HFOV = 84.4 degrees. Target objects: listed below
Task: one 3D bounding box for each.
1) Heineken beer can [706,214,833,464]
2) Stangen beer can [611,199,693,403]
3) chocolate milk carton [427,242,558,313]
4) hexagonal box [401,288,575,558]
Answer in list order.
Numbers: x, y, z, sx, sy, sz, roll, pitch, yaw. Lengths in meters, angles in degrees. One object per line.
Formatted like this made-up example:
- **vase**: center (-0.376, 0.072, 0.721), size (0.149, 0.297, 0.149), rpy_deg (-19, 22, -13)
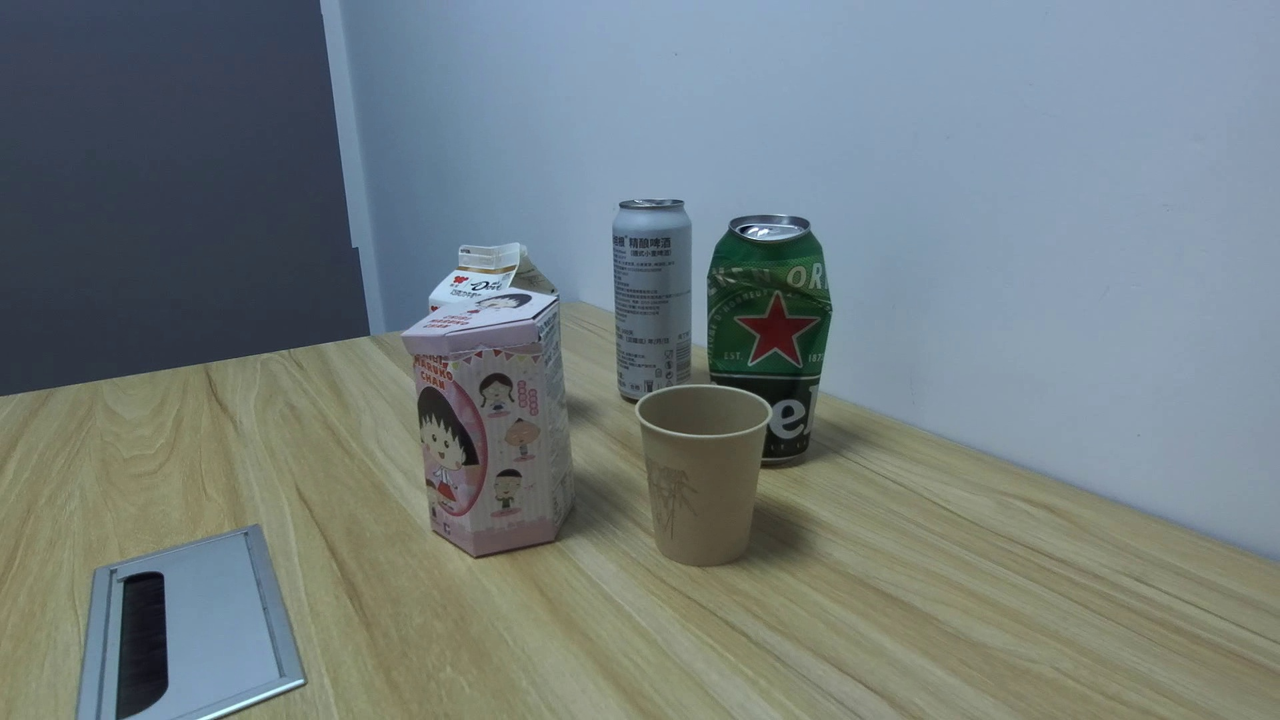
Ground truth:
- **Heineken beer can**: center (0.087, -0.011, 0.488), size (0.069, 0.168, 0.068), rpy_deg (-18, 27, -34)
- **Stangen beer can**: center (0.011, -0.049, 0.604), size (0.067, 0.171, 0.067), rpy_deg (-1, 15, 1)
- **chocolate milk carton**: center (-0.112, -0.020, 0.559), size (0.075, 0.148, 0.074), rpy_deg (12, 23, 32)
- **hexagonal box**: center (-0.083, 0.034, 0.417), size (0.091, 0.135, 0.085), rpy_deg (16, 26, 41)
